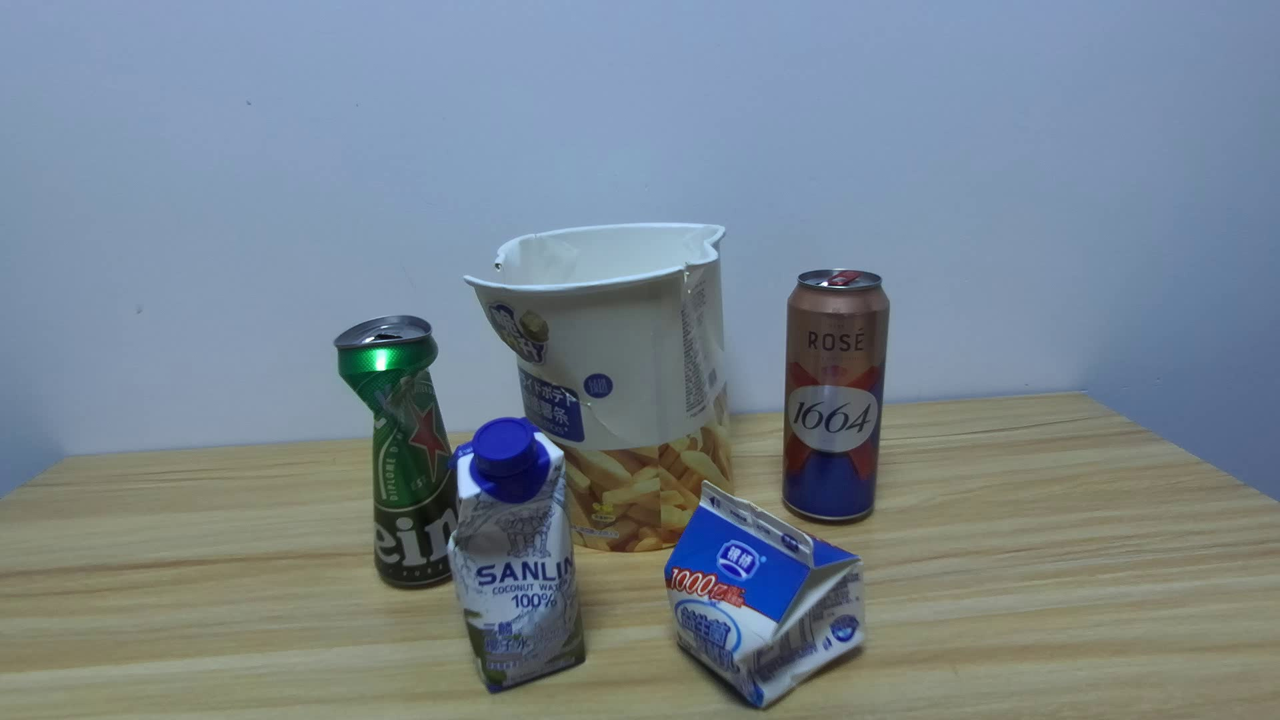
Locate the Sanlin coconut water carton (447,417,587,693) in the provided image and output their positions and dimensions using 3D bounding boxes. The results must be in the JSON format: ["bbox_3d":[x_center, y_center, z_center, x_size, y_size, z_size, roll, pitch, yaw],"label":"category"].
[{"bbox_3d":[-0.067,0.092,0.361,0.061,0.144,0.069,-11,22,-19],"label":"Sanlin coconut water carton"}]

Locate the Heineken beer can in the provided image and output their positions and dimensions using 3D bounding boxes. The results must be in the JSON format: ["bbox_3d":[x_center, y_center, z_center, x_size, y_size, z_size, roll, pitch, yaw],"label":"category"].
[{"bbox_3d":[-0.143,0.058,0.444,0.066,0.164,0.078,5,22,31],"label":"Heineken beer can"}]

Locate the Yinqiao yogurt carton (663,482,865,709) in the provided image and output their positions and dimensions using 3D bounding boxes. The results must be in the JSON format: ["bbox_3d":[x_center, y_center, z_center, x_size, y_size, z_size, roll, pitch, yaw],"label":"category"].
[{"bbox_3d":[0.060,0.112,0.356,0.080,0.097,0.074,-25,28,-32],"label":"Yinqiao yogurt carton"}]

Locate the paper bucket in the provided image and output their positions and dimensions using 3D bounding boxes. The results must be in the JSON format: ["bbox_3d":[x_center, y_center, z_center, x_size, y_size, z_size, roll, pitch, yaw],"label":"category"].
[{"bbox_3d":[-0.011,0.013,0.499,0.145,0.197,0.202,-2,19,7],"label":"paper bucket"}]
